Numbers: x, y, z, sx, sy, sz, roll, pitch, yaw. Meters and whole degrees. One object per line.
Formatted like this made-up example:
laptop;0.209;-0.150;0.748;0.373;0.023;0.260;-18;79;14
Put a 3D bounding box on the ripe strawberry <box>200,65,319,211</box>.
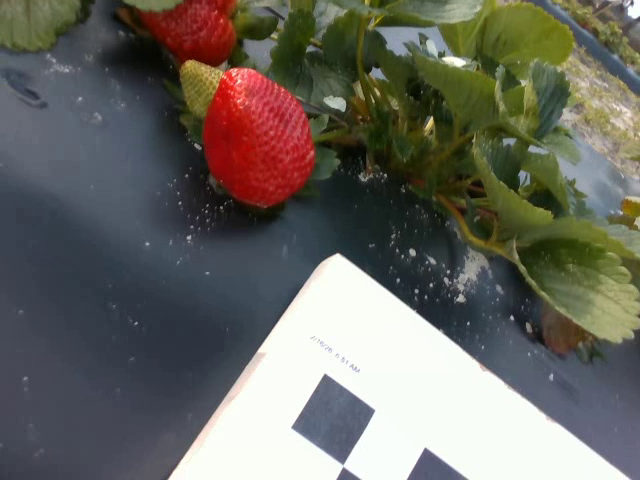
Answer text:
ripe strawberry;-0.010;-0.019;0.103;0.022;0.025;0.030;14;-12;11
